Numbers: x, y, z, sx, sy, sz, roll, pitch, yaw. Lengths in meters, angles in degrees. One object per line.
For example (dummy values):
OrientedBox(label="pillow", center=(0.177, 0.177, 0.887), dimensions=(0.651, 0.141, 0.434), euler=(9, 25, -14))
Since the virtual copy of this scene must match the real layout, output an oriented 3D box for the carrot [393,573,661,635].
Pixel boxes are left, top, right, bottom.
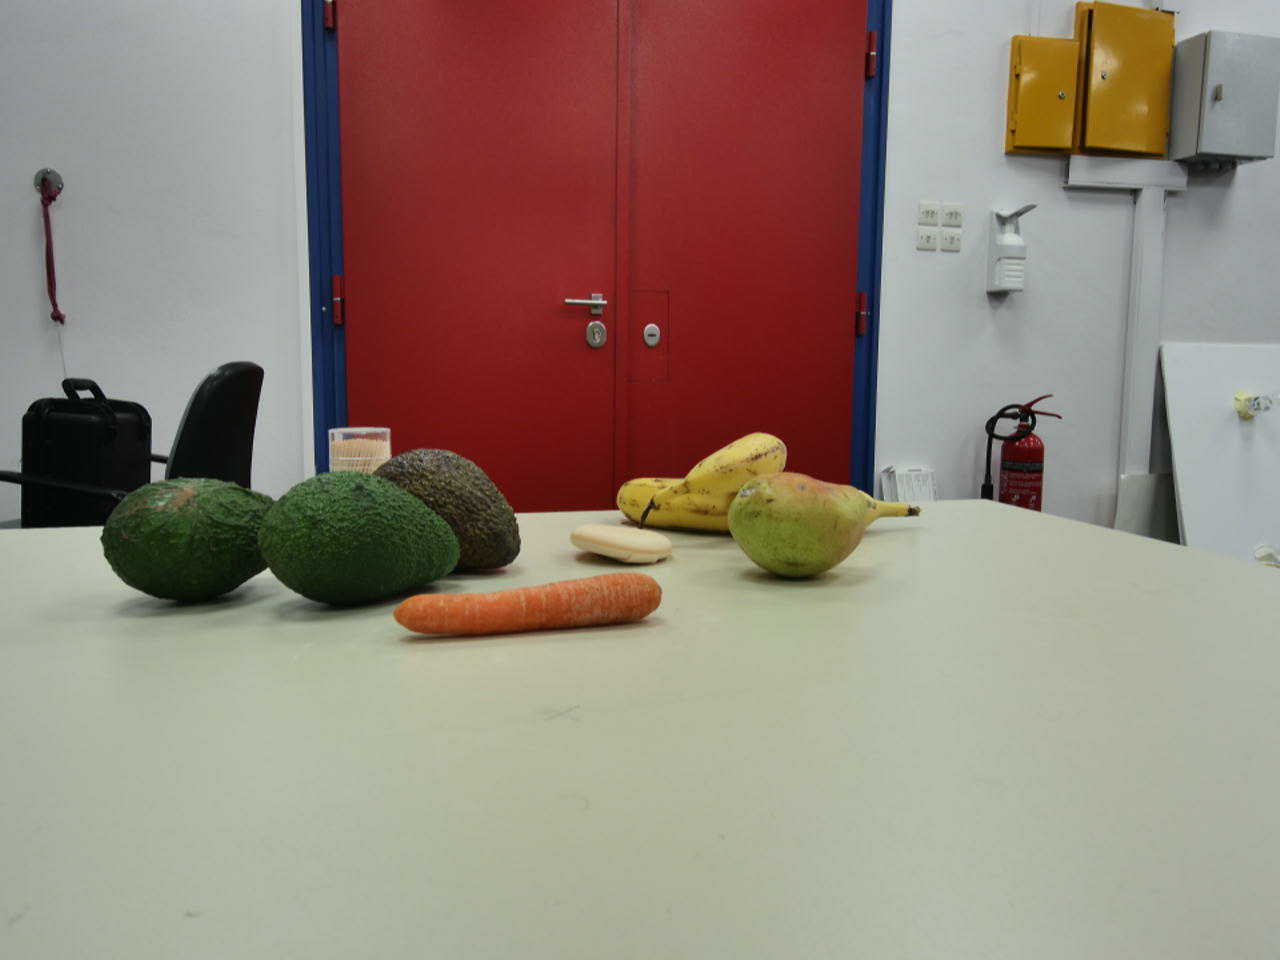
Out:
OrientedBox(label="carrot", center=(-0.049, 0.057, 0.459), dimensions=(0.122, 0.023, 0.024), euler=(-2, 5, -16))
